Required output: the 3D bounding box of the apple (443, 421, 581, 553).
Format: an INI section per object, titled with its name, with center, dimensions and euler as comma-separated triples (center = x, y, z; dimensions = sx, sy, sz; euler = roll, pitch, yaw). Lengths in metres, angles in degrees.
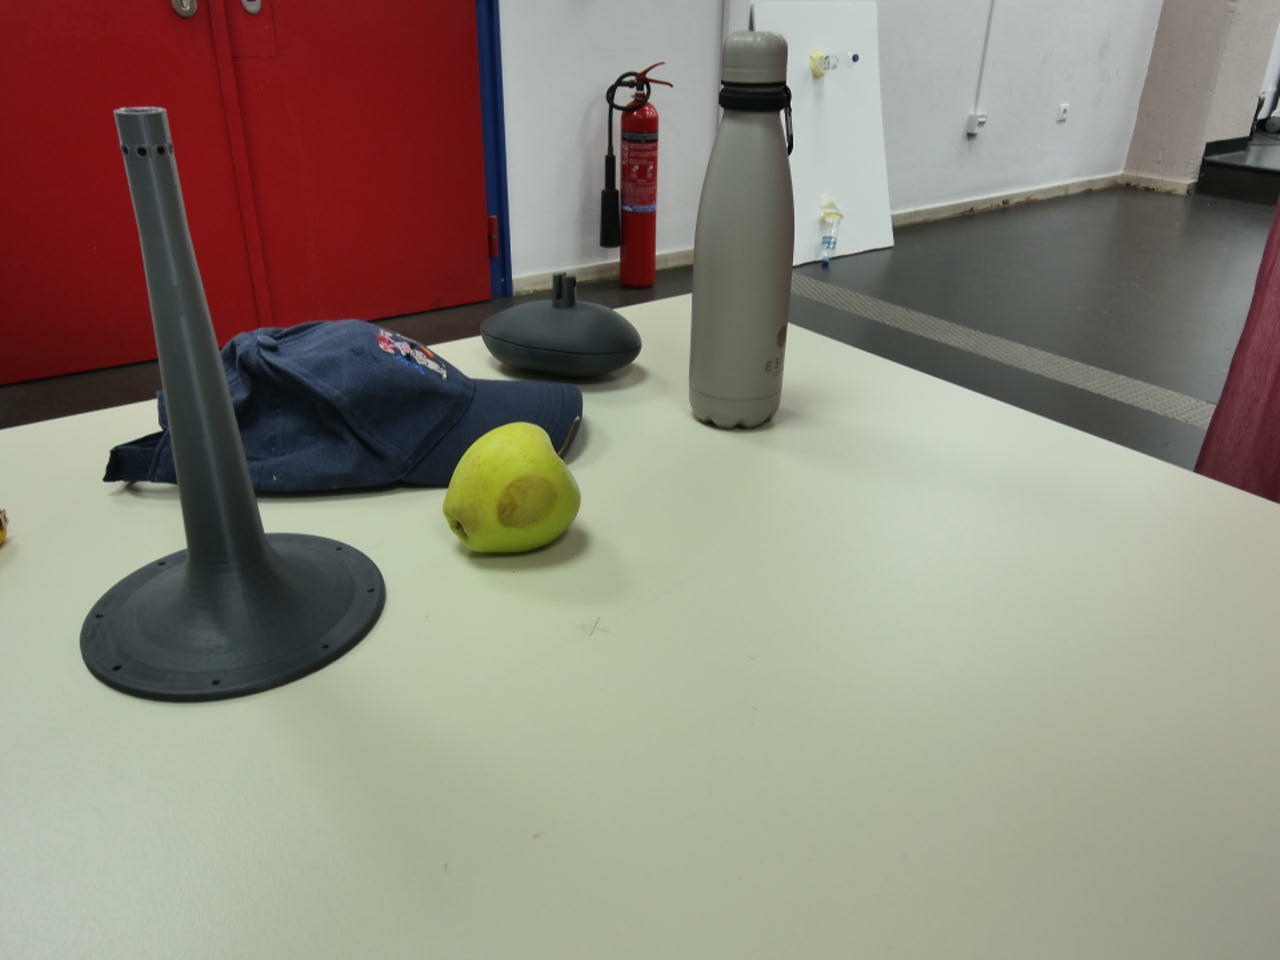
[apple]
center = -0.073, 0.004, 0.588
dimensions = 0.077, 0.075, 0.072
euler = 5, 26, 7
